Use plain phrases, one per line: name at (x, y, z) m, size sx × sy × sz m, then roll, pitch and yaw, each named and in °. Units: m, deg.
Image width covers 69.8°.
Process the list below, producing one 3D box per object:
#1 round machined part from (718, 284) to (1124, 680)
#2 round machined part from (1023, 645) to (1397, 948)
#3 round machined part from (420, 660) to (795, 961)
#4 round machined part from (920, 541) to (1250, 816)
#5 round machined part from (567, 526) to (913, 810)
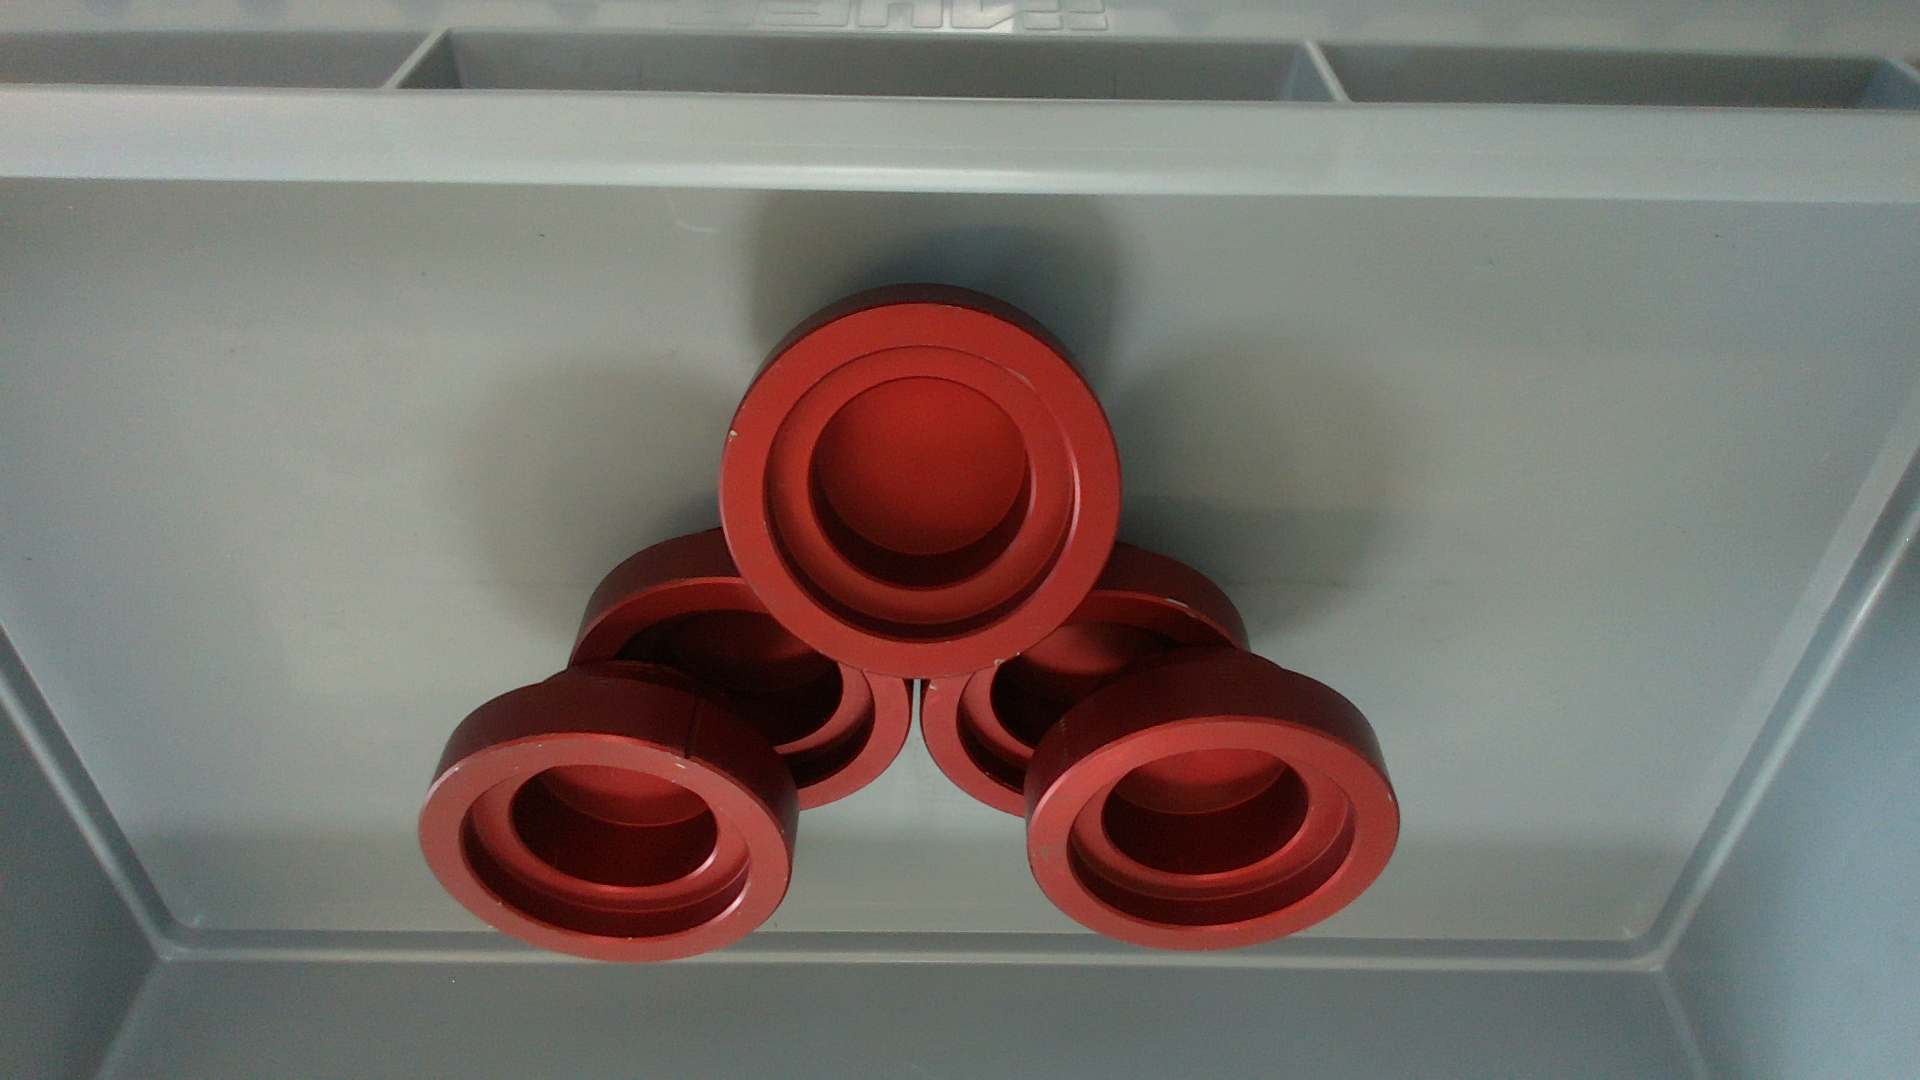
round machined part at (-0.010, -0.017, 0.351) m, size 0.098 × 0.042 × 0.098 m, roll -1°, pitch 112°, yaw -1°
round machined part at (0.066, 0.067, 0.381) m, size 0.098 × 0.042 × 0.098 m, roll 0°, pitch 130°, yaw 0°
round machined part at (-0.094, 0.072, 0.384) m, size 0.098 × 0.042 × 0.098 m, roll 0°, pitch 130°, yaw 0°
round machined part at (0.037, 0.038, 0.411) m, size 0.098 × 0.042 × 0.098 m, roll 0°, pitch 130°, yaw 0°
round machined part at (-0.063, 0.034, 0.407) m, size 0.098 × 0.042 × 0.098 m, roll 0°, pitch 130°, yaw 0°
